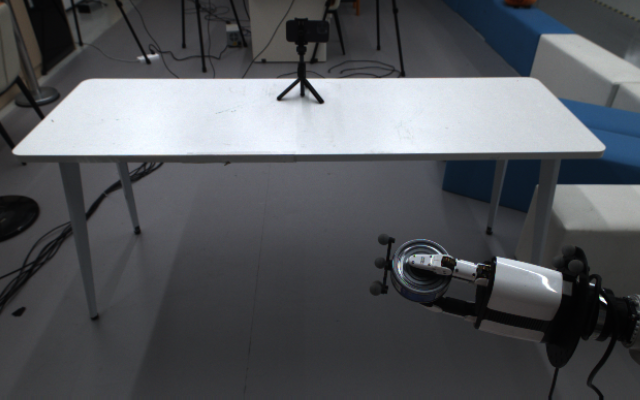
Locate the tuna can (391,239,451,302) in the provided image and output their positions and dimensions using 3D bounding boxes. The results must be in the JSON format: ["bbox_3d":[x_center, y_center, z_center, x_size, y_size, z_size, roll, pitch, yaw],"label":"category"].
[{"bbox_3d":[0.146,0.097,0.681,0.085,0.034,0.085,-2,57,3],"label":"tuna can"}]
